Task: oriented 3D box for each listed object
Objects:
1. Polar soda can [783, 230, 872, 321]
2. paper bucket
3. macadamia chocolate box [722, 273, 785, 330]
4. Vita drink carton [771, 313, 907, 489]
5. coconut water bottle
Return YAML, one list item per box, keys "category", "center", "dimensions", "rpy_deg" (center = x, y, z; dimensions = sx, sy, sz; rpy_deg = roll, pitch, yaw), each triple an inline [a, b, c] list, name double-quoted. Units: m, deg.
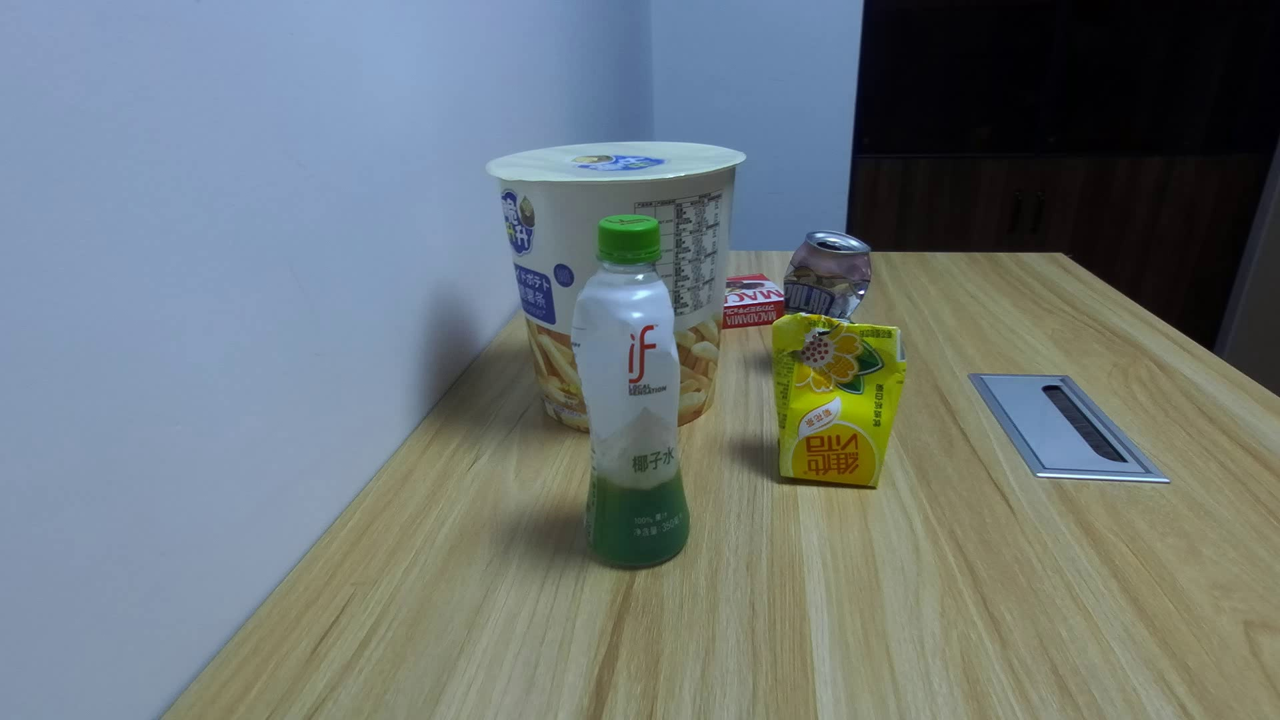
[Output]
- category: "Polar soda can"
  center: [0.163, -0.043, 0.598]
  dimensions: [0.067, 0.121, 0.070]
  rpy_deg: [-9, 22, -38]
- category: "paper bucket"
  center: [-0.014, -0.059, 0.556]
  dimensions: [0.198, 0.195, 0.198]
  rpy_deg: [-1, 24, 1]
- category: "macadamia chocolate box"
  center: [0.063, -0.061, 0.761]
  dimensions: [0.183, 0.028, 0.105]
  rpy_deg: [-5, 24, -11]
- category: "Vita drink carton"
  center: [0.127, 0.023, 0.465]
  dimensions: [0.087, 0.108, 0.042]
  rpy_deg: [6, 10, 7]
- category: "coconut water bottle"
  center: [-0.003, 0.019, 0.379]
  dimensions: [0.069, 0.186, 0.069]
  rpy_deg: [-1, 24, 1]
